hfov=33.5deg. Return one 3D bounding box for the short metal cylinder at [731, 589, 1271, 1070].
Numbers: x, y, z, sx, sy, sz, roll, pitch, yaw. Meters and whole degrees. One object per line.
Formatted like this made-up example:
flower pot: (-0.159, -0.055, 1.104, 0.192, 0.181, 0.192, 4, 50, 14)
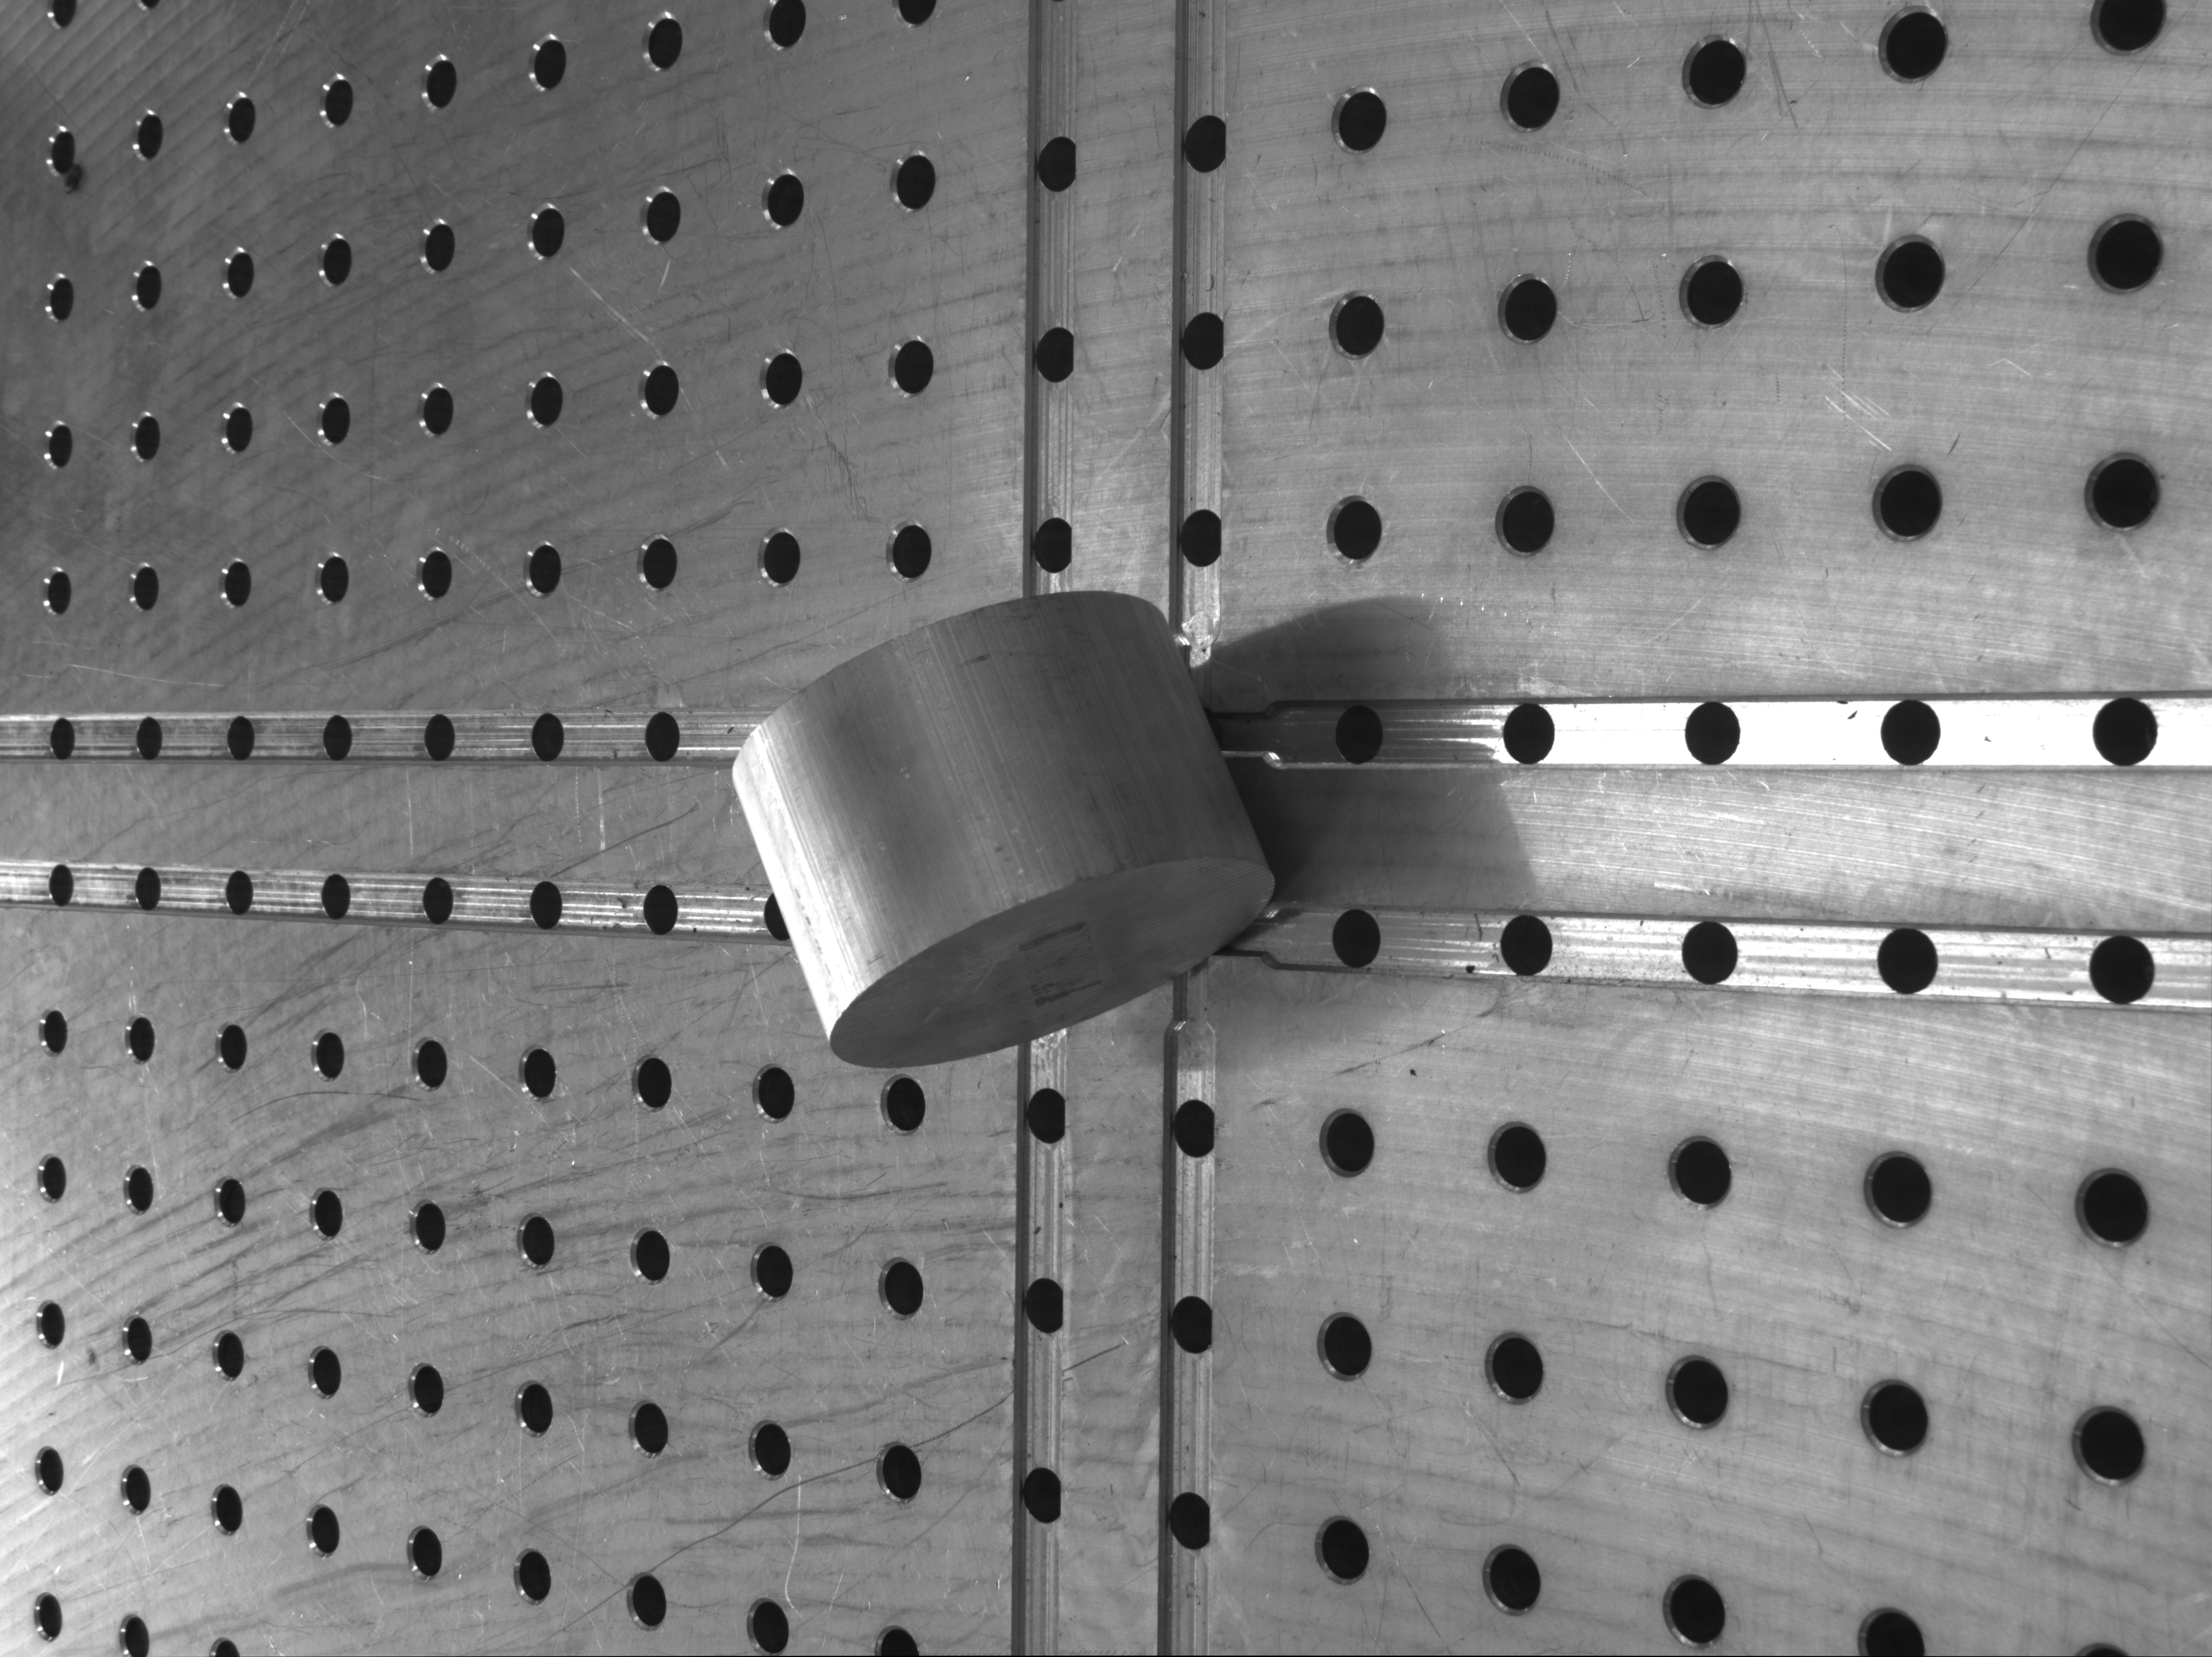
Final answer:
short metal cylinder: (-0.018, 0.001, 0.627, 0.080, 0.080, 0.050, -35, 67, 35)
